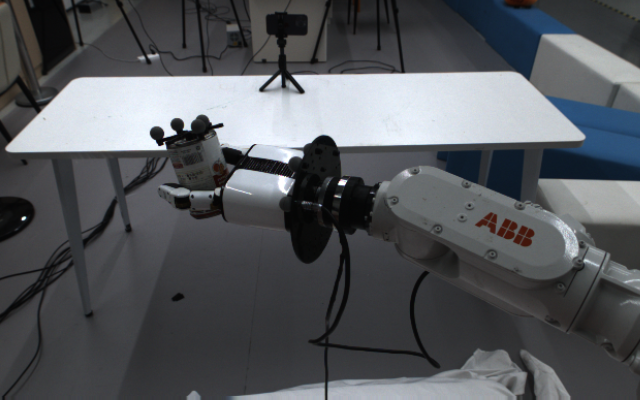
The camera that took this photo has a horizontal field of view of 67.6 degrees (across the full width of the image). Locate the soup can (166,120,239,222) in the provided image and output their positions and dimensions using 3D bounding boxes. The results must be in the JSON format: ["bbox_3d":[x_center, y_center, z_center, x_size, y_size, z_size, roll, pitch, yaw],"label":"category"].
[{"bbox_3d":[-0.153,-0.033,0.636,0.067,0.101,0.067,-13,19,5],"label":"soup can"}]
